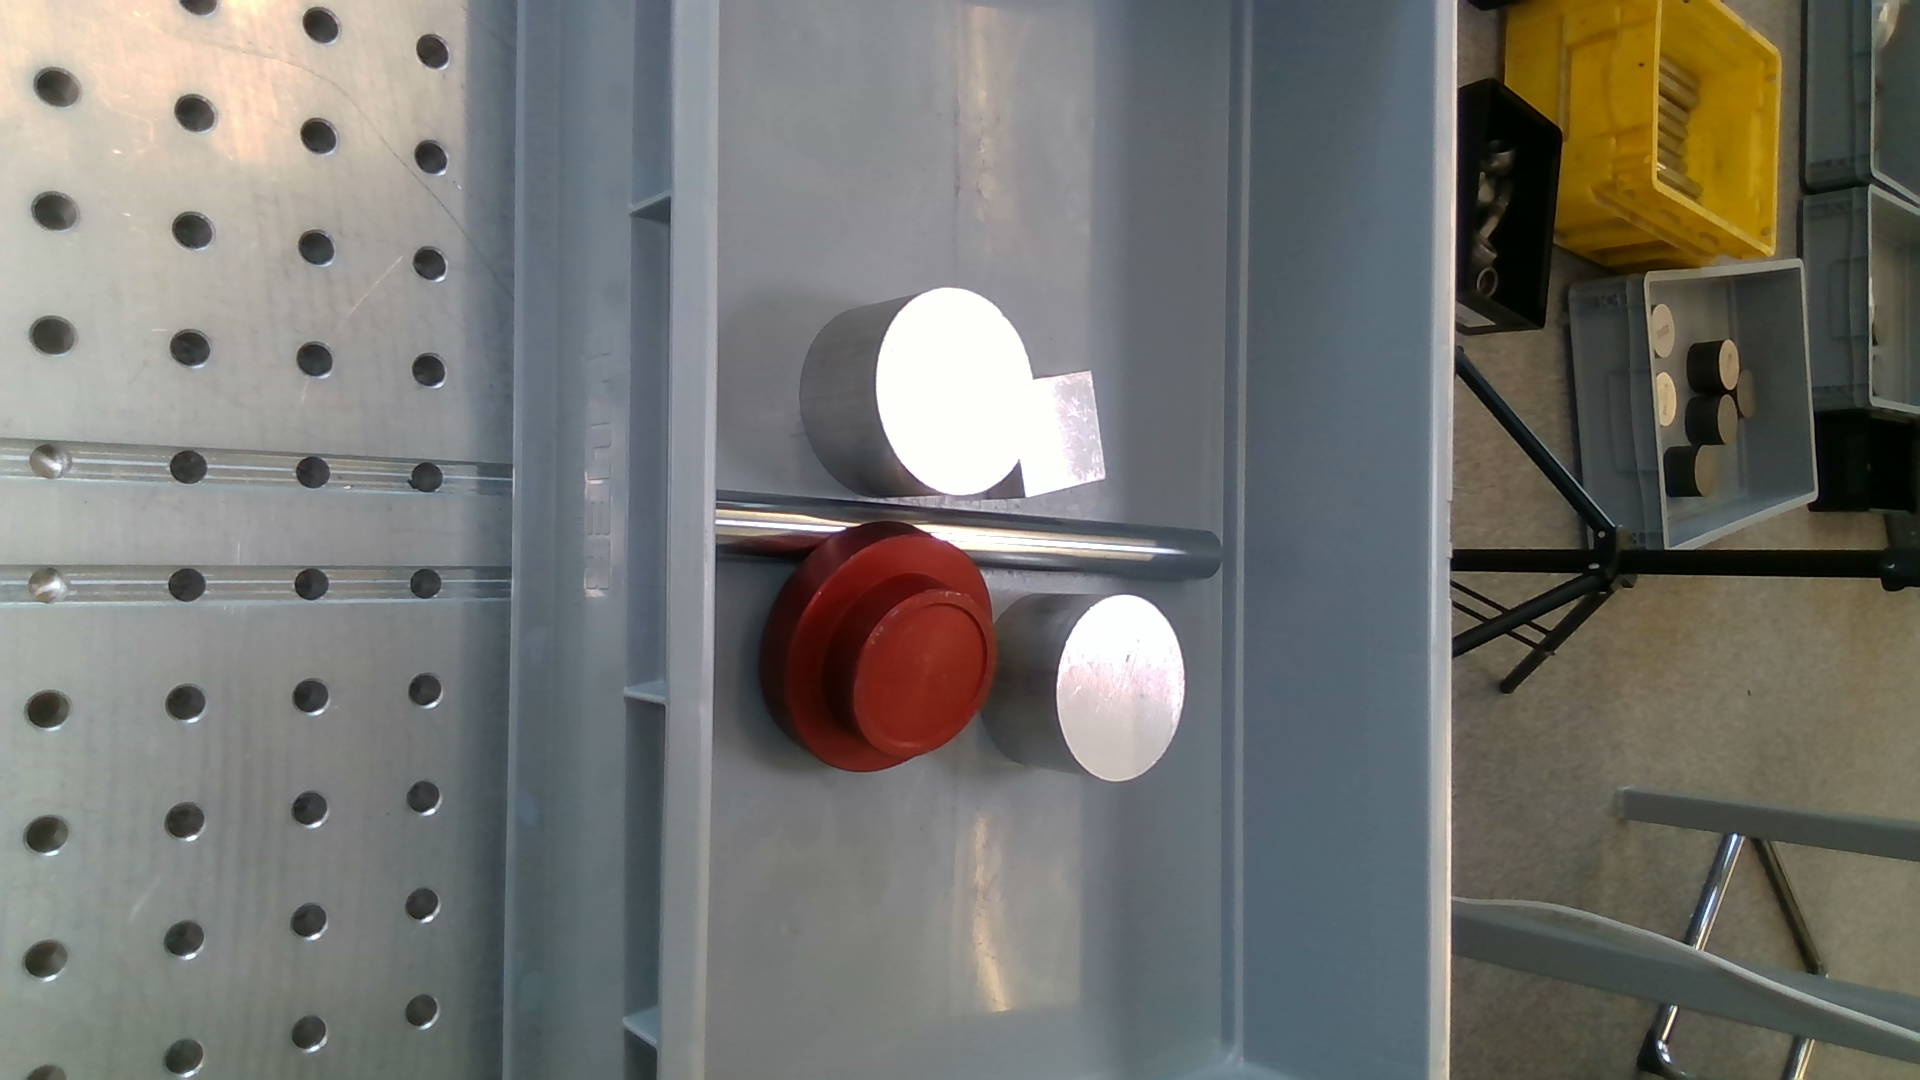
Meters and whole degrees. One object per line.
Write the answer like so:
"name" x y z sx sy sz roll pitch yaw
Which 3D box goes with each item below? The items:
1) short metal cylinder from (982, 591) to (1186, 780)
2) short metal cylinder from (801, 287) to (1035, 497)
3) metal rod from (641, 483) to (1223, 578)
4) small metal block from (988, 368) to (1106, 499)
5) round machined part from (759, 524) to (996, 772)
"short metal cylinder" 0.055 0.063 0.611 0.080 0.050 0.080 0 90 -40
"short metal cylinder" -0.016 -0.058 0.551 0.080 0.050 0.080 0 90 -40
"metal rod" 0.007 0.000 0.587 0.300 0.025 0.025 4 88 -40
"small metal block" 0.035 -0.047 0.611 0.050 0.025 0.050 -15 100 -39
"round machined part" -0.025 0.045 0.534 0.098 0.042 0.098 -16 116 -36
